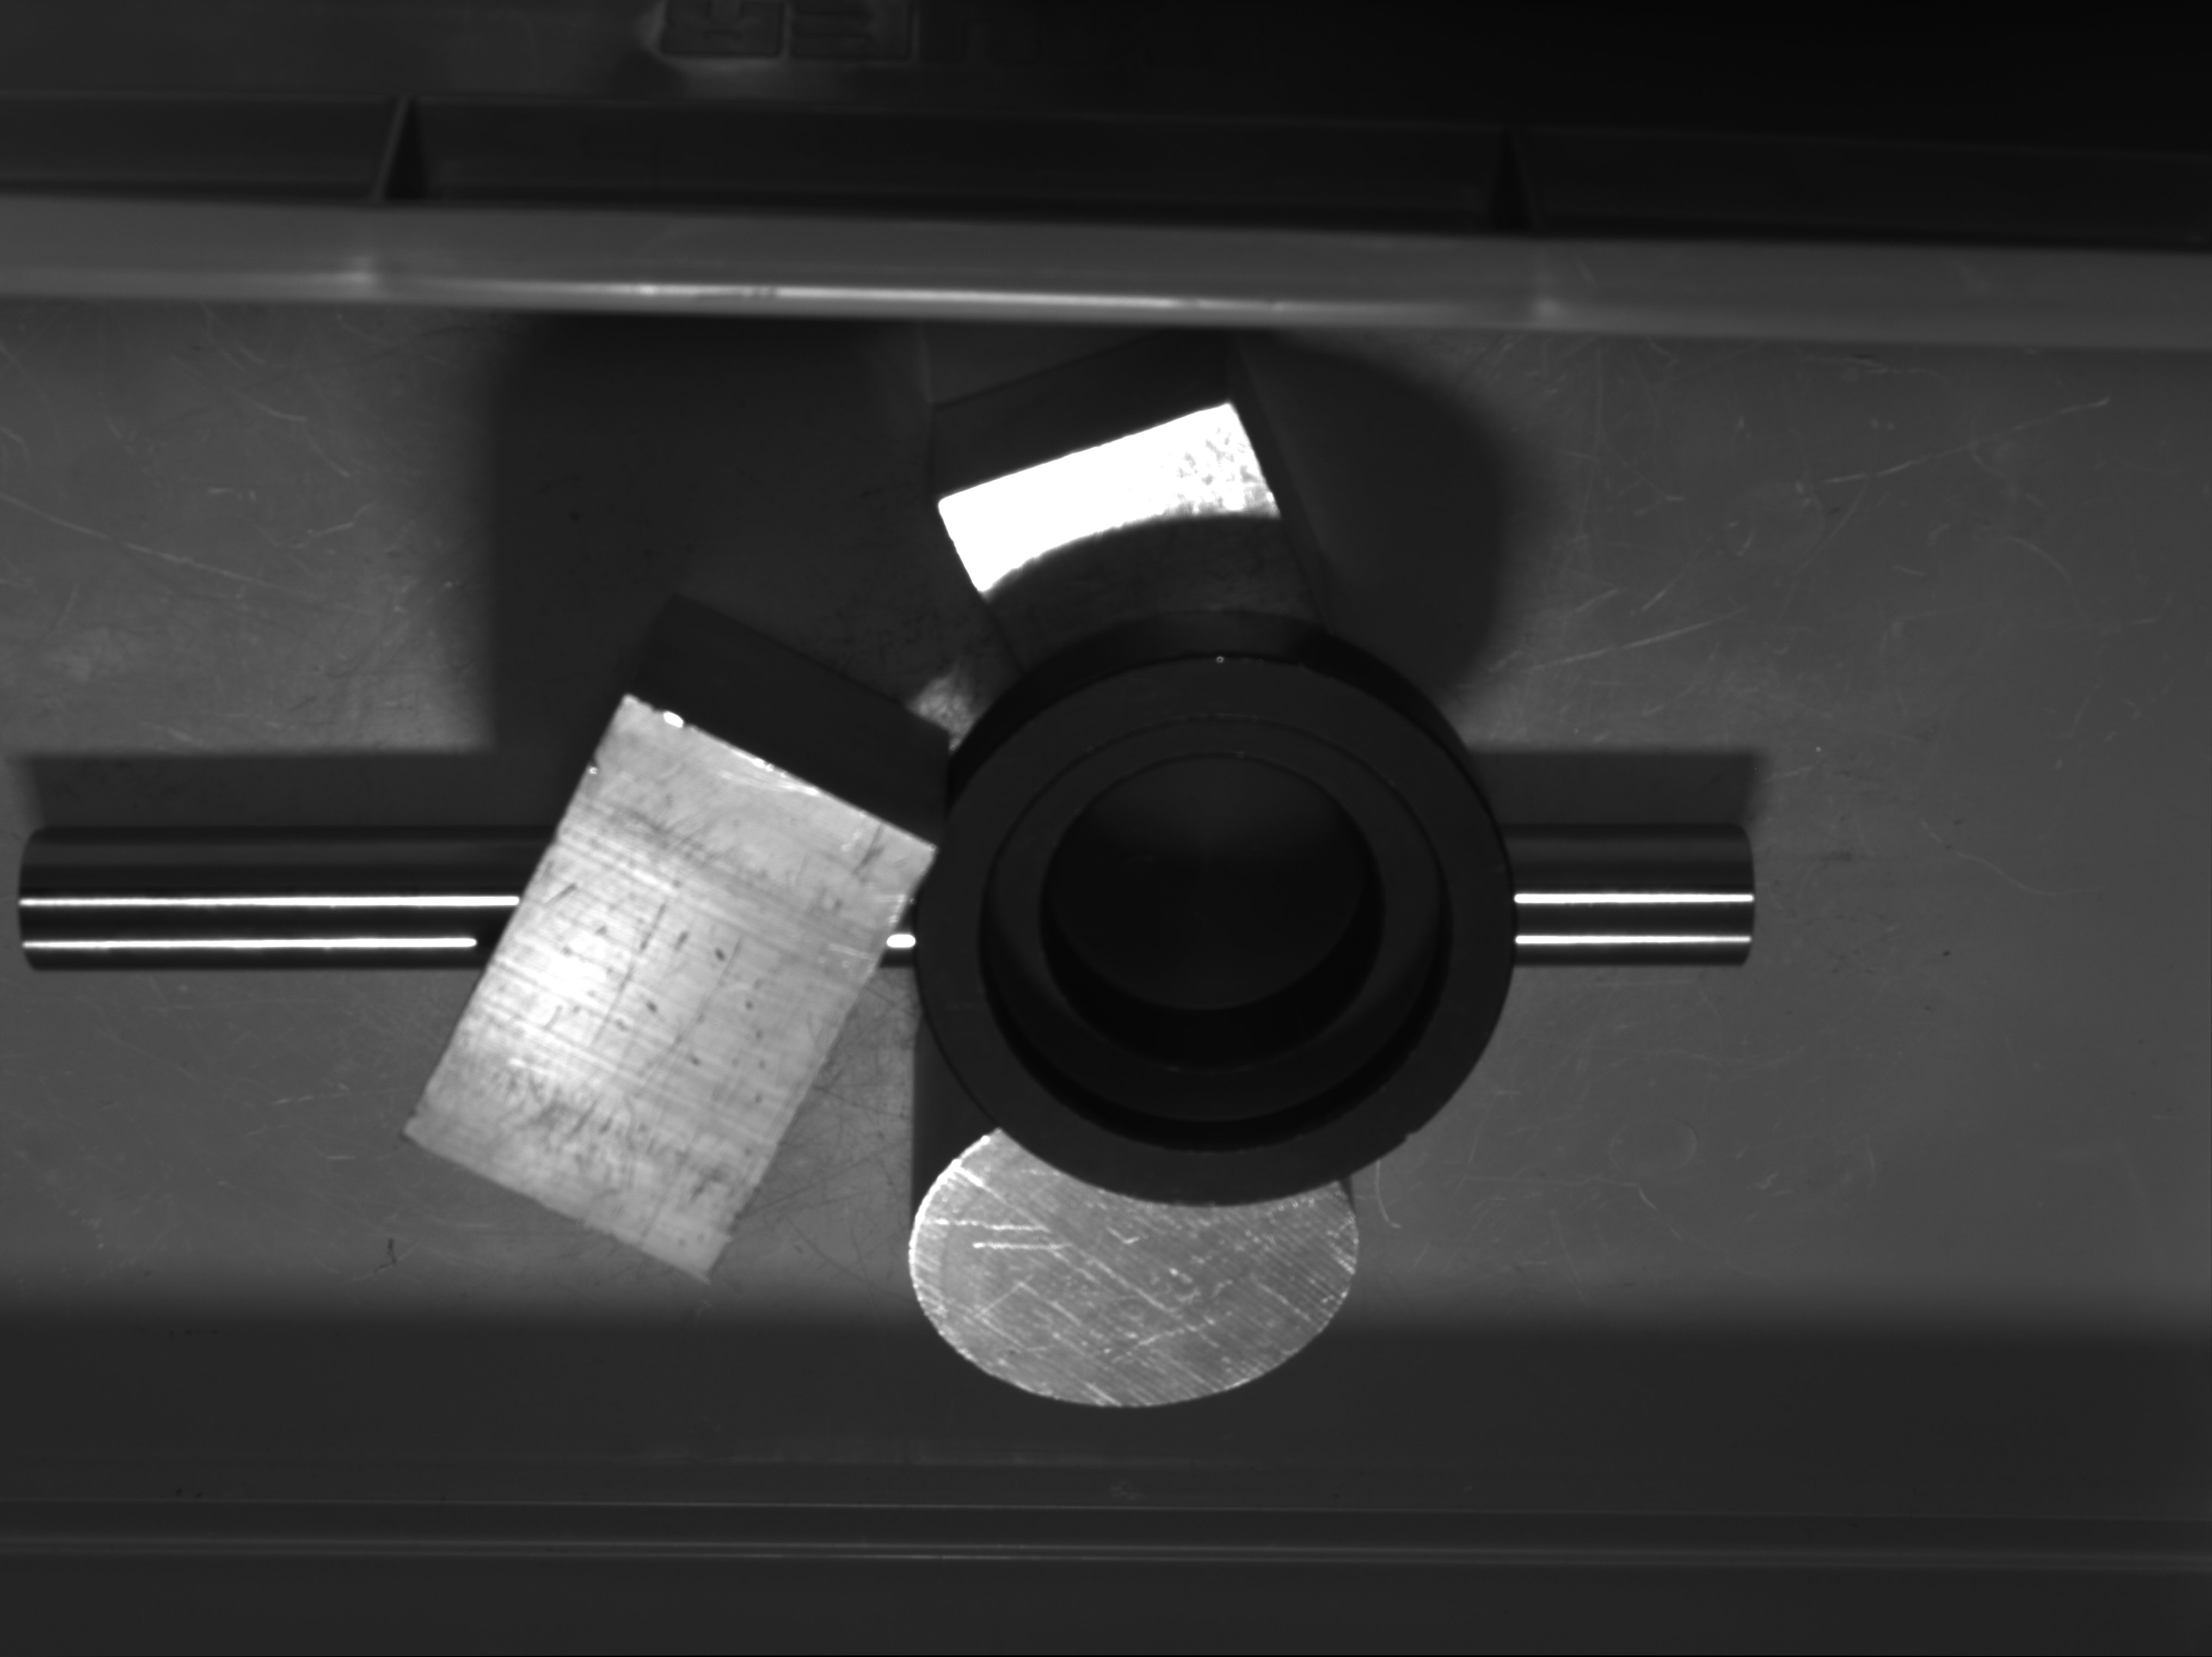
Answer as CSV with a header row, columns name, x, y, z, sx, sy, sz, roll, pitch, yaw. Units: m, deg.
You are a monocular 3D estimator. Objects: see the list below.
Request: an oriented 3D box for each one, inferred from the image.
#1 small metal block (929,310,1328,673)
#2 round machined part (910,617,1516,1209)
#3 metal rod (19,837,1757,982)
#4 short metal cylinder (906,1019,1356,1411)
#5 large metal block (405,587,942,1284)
name,x,y,z,sx,sy,sz,roll,pitch,yaw
small metal block,0.004,-0.050,0.596,0.050,0.025,0.050,-16,129,12
round machined part,0.017,0.011,0.610,0.098,0.042,0.098,-1,112,-1
metal rod,-0.037,0.014,0.646,0.300,0.025,0.025,0,130,-2
short metal cylinder,0.004,0.061,0.671,0.080,0.050,0.080,-1,130,-1
large metal block,-0.068,0.015,0.592,0.050,0.080,0.080,26,102,-8
